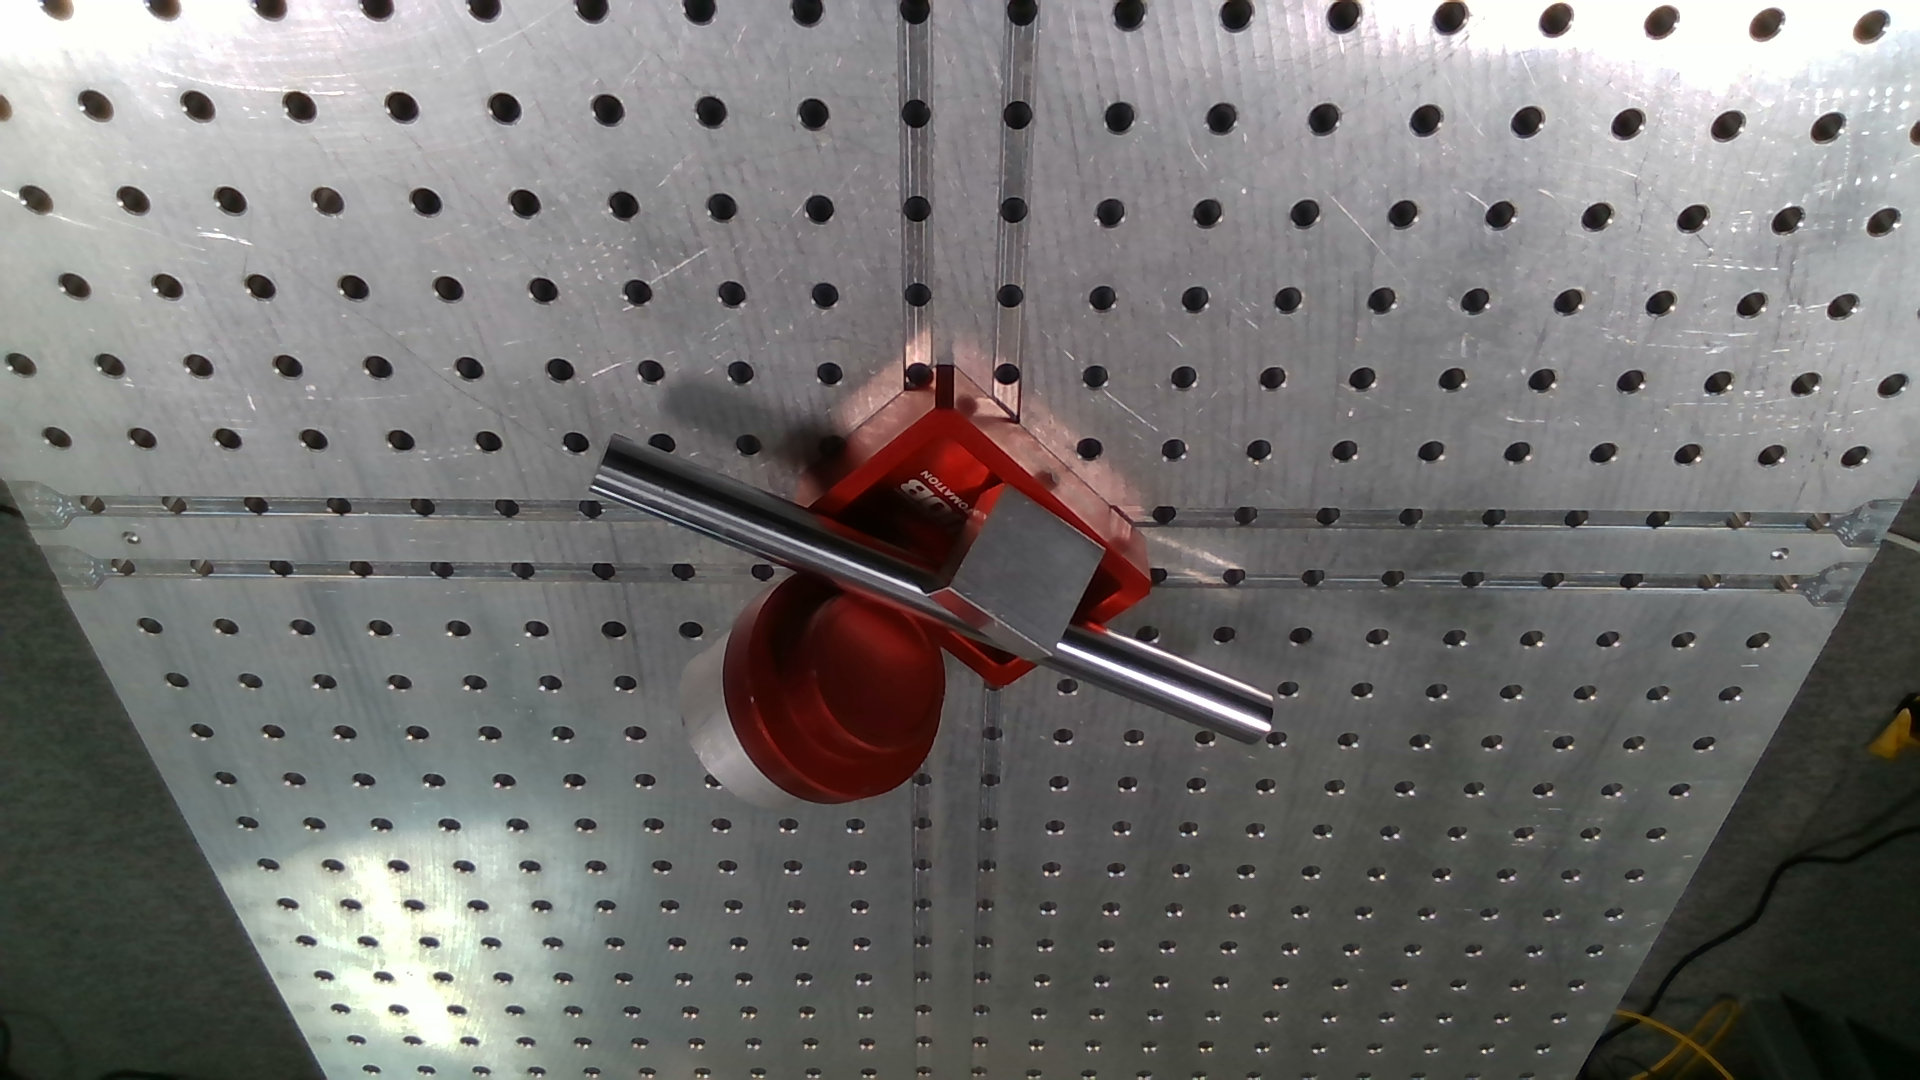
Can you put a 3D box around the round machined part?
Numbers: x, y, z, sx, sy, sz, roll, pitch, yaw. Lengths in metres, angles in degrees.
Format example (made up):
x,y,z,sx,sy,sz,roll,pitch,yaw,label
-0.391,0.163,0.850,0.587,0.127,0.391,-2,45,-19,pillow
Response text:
x,y,z,sx,sy,sz,roll,pitch,yaw,label
-0.045,0.057,0.569,0.098,0.098,0.042,36,143,-26,round machined part

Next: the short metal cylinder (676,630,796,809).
x,y,z,sx,sy,sz,roll,pitch,yaw,label
-0.077,0.070,0.604,0.050,0.080,0.080,-36,121,26,short metal cylinder

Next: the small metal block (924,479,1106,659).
x,y,z,sx,sy,sz,roll,pitch,yaw,label
0.022,0.012,0.548,0.050,0.050,0.025,34,161,-14,small metal block

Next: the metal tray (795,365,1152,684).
x,y,z,sx,sy,sz,roll,pitch,yaw,label
0.006,-0.002,0.576,0.090,0.030,0.130,-36,121,26,metal tray

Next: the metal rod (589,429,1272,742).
x,y,z,sx,sy,sz,roll,pitch,yaw,label
-0.002,0.024,0.563,0.300,0.025,0.025,22,127,-18,metal rod
